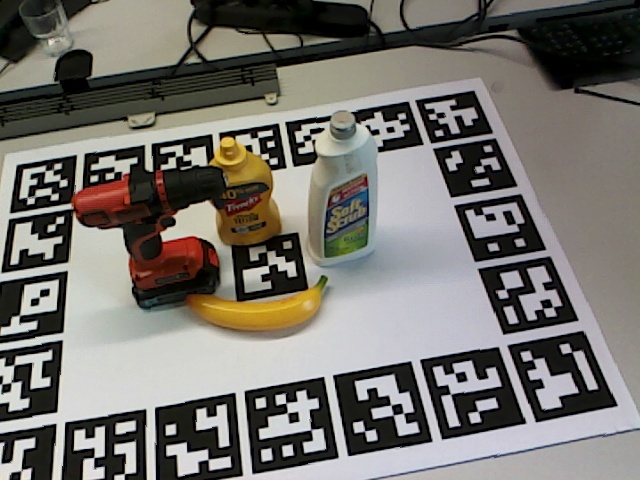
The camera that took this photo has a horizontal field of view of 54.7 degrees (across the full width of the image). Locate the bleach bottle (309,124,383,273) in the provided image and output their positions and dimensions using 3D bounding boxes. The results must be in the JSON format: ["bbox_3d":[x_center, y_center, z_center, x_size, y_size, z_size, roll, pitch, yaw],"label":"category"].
[{"bbox_3d":[0.030,-0.053,0.810,0.102,0.250,0.068,-16,58,-7],"label":"bleach bottle"}]

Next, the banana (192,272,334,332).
[{"bbox_3d":[-0.075,0.089,0.837,0.197,0.039,0.074,-7,60,1],"label":"banana"}]

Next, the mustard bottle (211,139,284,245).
[{"bbox_3d":[-0.105,-0.068,0.856,0.096,0.191,0.058,-8,56,-3],"label":"mustard bottle"}]

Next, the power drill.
[{"bbox_3d":[-0.197,-0.013,0.804,0.184,0.186,0.057,-10,49,-6],"label":"power drill"}]
